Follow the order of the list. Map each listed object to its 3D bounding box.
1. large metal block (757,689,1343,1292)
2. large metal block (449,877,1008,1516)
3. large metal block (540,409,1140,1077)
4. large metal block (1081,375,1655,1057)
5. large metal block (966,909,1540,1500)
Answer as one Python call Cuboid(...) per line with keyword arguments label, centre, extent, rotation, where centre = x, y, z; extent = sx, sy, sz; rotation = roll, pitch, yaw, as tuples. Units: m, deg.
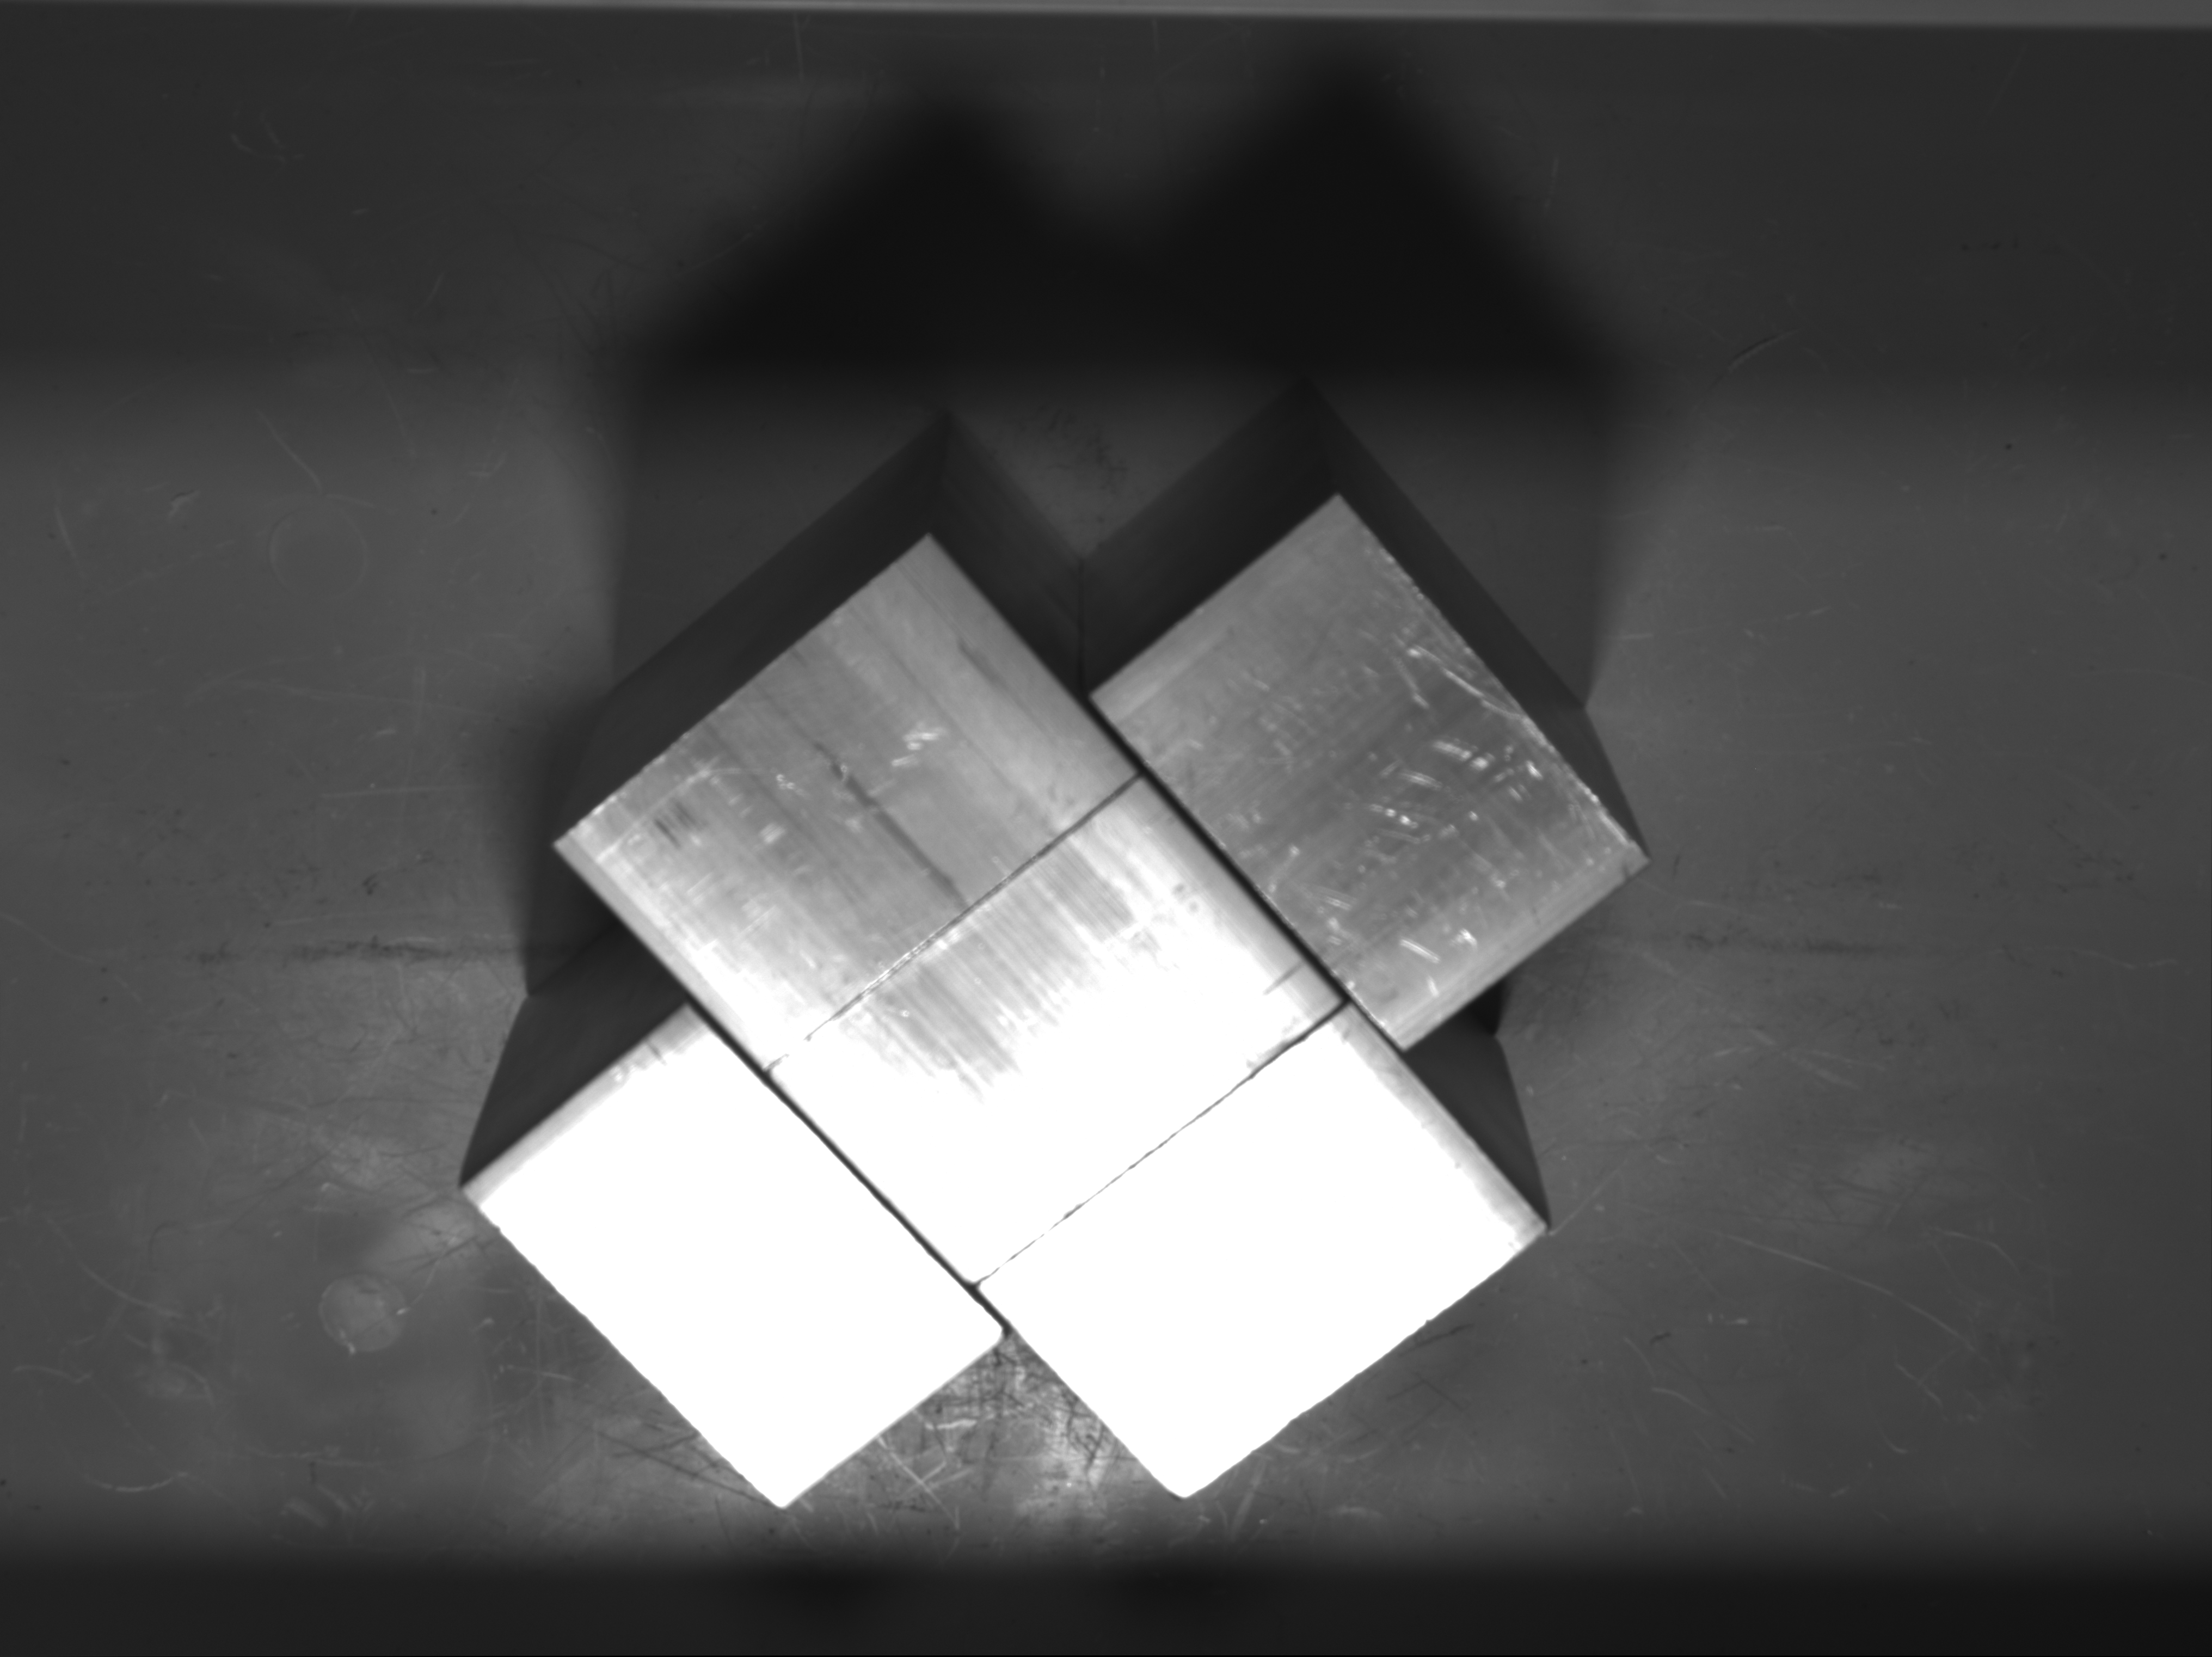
Cuboid(label="large metal block", centre=(-0.009, 0.020, 0.621), extent=(0.080, 0.080, 0.050), rotation=(-38, 106, 12))
Cuboid(label="large metal block", centre=(-0.061, 0.057, 0.634), extent=(0.050, 0.080, 0.080), rotation=(-39, 106, 12))
Cuboid(label="large metal block", centre=(-0.042, -0.016, 0.606), extent=(0.080, 0.080, 0.050), rotation=(-38, 106, 12))
Cuboid(label="large metal block", centre=(0.041, -0.021, 0.606), extent=(0.050, 0.080, 0.080), rotation=(-39, 106, 12))
Cuboid(label="large metal block", centre=(0.024, 0.056, 0.635), extent=(0.080, 0.080, 0.050), rotation=(-38, 106, 12))
